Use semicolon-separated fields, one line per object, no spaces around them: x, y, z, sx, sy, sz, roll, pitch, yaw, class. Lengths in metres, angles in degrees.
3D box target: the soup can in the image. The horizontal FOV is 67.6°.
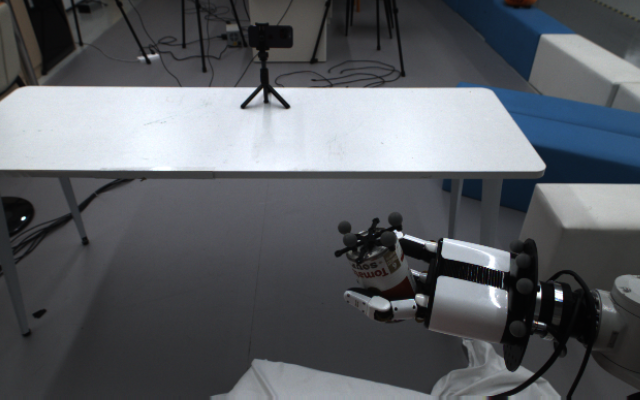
0.083;0.093;0.609;0.067;0.101;0.067;-21;24;10;soup can
